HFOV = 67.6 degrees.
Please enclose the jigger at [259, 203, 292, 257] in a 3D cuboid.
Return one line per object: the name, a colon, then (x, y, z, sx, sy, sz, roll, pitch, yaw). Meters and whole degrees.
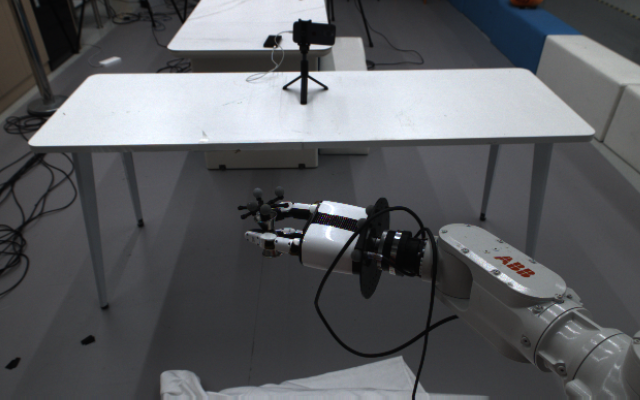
jigger: (-0.082, 0.054, 0.811, 0.043, 0.071, 0.043, -10, 24, 5)
